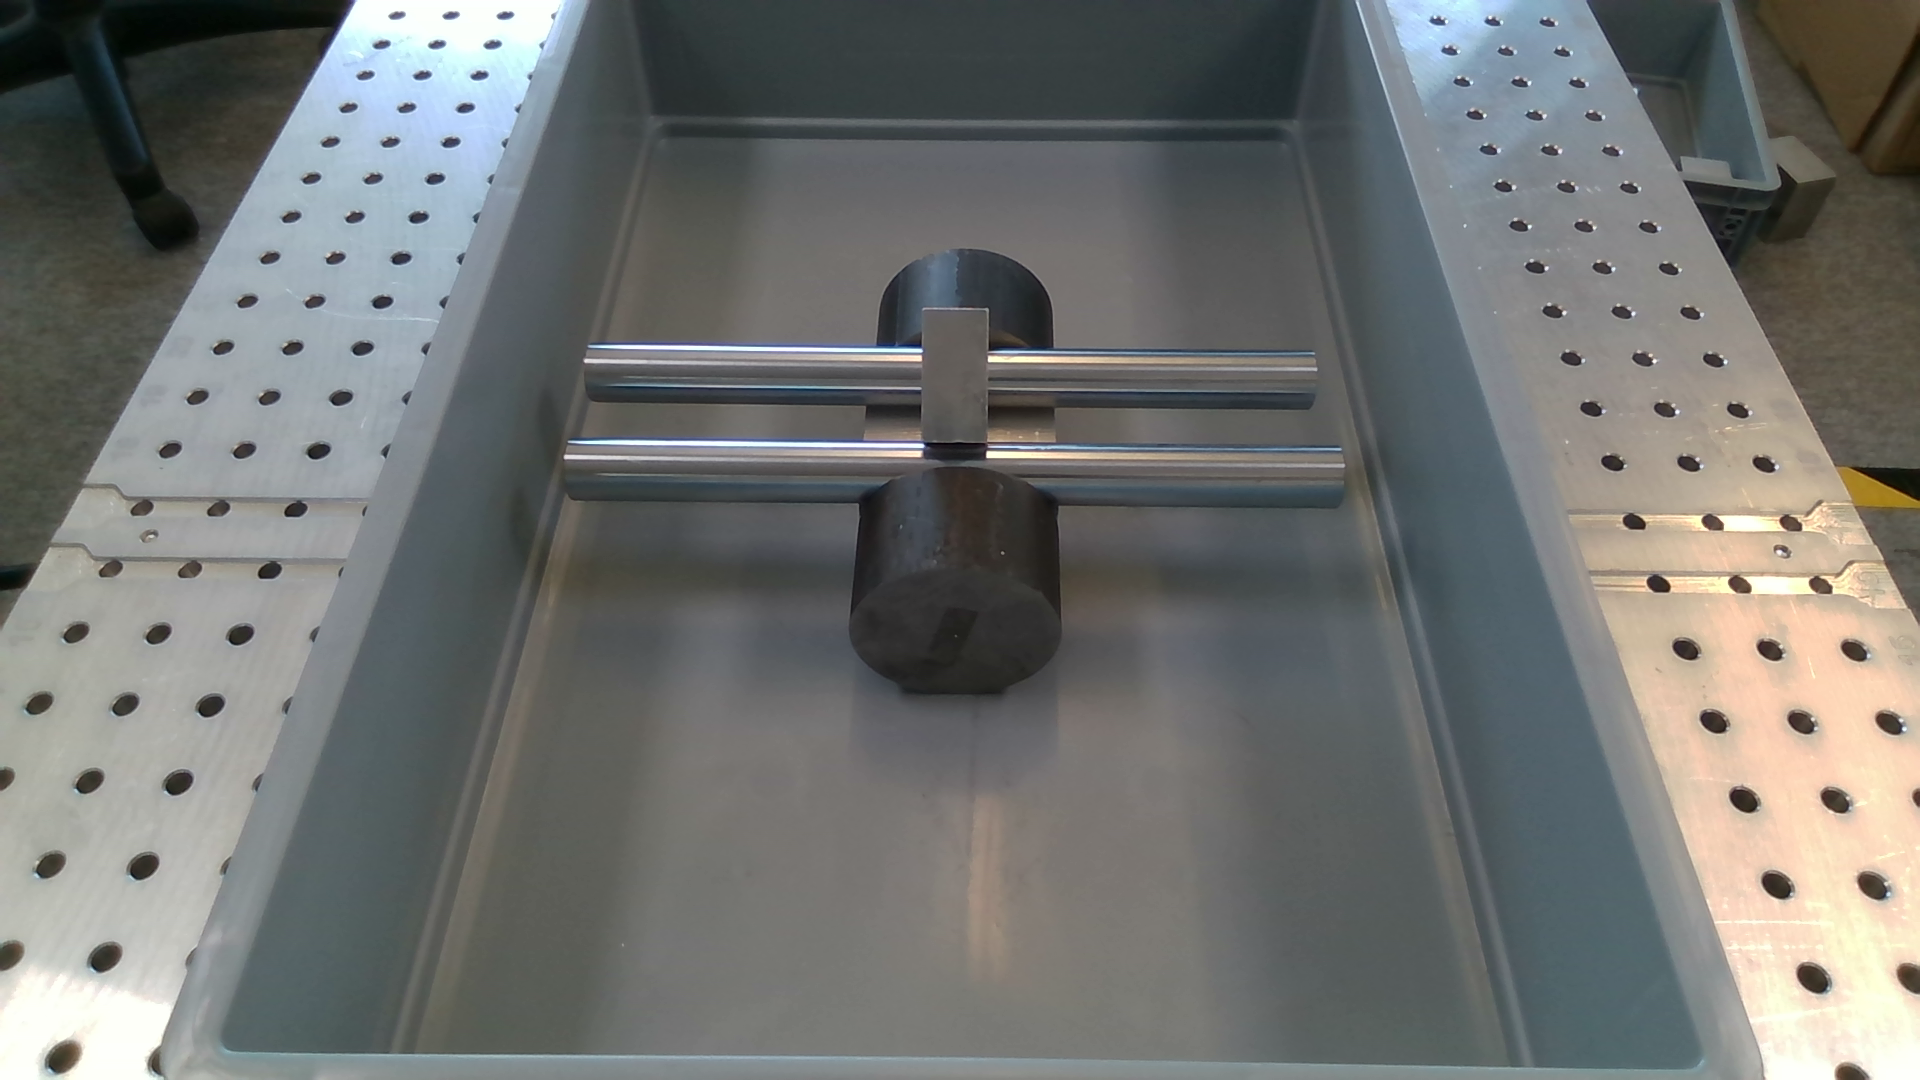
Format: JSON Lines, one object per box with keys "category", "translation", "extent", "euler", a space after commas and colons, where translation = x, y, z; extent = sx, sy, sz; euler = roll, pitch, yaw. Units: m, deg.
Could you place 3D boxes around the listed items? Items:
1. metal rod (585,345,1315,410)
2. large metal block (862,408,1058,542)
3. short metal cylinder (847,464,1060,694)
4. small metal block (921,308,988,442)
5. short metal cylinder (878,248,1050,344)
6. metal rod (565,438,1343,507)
{"category": "metal rod", "translation": [-0.004, -0.069, 0.578], "extent": [0.300, 0.025, 0.025], "euler": [1, 50, 0]}
{"category": "large metal block", "translation": [-0.001, -0.024, 0.589], "extent": [0.080, 0.050, 0.080], "euler": [1, 50, 0]}
{"category": "short metal cylinder", "translation": [-0.002, 0.016, 0.536], "extent": [0.080, 0.080, 0.050], "euler": [0, 49, 0]}
{"category": "small metal block", "translation": [-0.002, -0.064, 0.541], "extent": [0.025, 0.050, 0.050], "euler": [0, 6, 1]}
{"category": "short metal cylinder", "translation": [0.002, -0.083, 0.620], "extent": [0.080, 0.080, 0.050], "euler": [1, 50, 1]}
{"category": "metal rod", "translation": [-0.002, -0.026, 0.543], "extent": [0.300, 0.025, 0.025], "euler": [1, 50, 0]}
